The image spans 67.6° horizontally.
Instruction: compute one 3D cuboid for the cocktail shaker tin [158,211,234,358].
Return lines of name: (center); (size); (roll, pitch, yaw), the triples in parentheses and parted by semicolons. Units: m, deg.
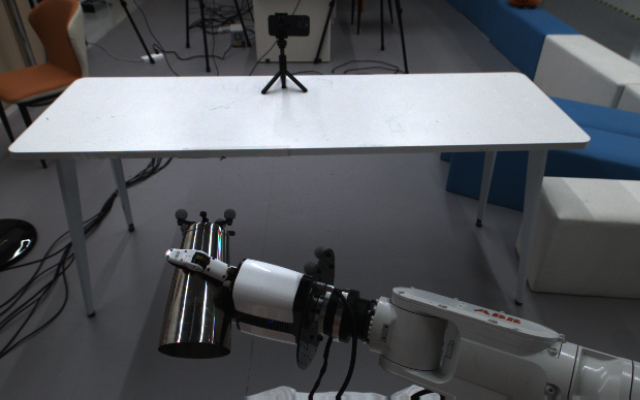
cocktail shaker tin: (-0.164, 0.121, 0.659); (0.093, 0.093, 0.170); (0, 59, -3)
